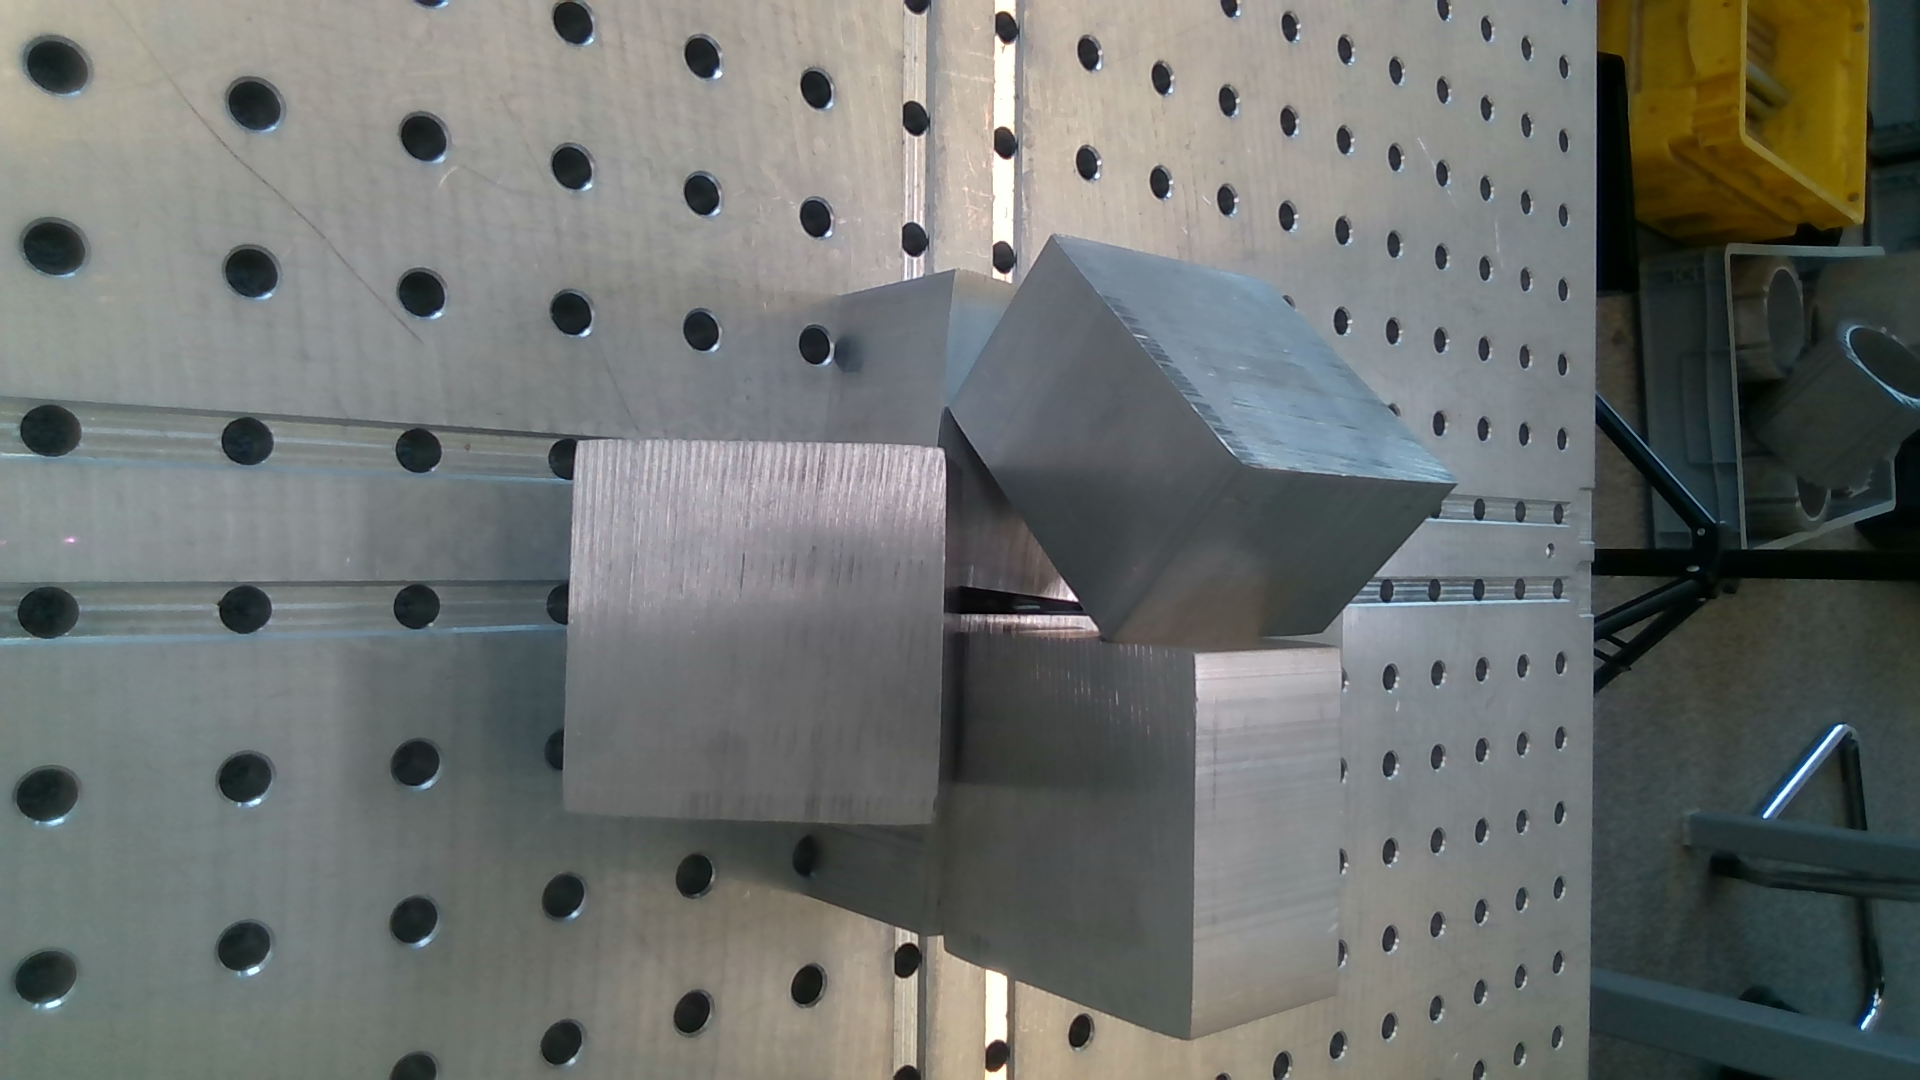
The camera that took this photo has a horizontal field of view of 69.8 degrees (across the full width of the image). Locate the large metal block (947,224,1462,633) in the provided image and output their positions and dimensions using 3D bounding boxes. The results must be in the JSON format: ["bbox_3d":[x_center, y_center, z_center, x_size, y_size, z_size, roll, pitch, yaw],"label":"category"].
[{"bbox_3d":[0.057,-0.025,0.330,0.080,0.050,0.080,1,44,-40],"label":"large metal block"}]

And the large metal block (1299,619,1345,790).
[{"bbox_3d":[0.079,0.029,0.415,0.050,0.080,0.080,2,89,-2],"label":"large metal block"}]

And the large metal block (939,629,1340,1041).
[{"bbox_3d":[0.041,0.063,0.327,0.050,0.080,0.080,2,89,-40],"label":"large metal block"}]

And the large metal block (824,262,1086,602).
[{"bbox_3d":[0.009,-0.025,0.385,0.080,0.050,0.080,9,84,-40],"label":"large metal block"}]

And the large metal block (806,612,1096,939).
[{"bbox_3d":[0.006,0.060,0.382,0.080,0.050,0.080,4,88,-40],"label":"large metal block"}]

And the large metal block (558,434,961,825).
[{"bbox_3d":[-0.043,0.019,0.315,0.080,0.050,0.080,1,89,4],"label":"large metal block"}]
